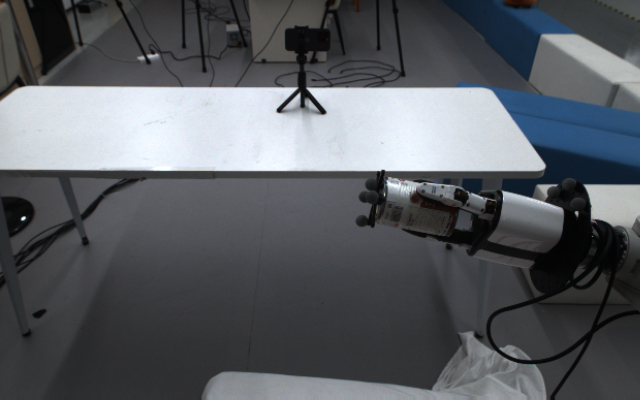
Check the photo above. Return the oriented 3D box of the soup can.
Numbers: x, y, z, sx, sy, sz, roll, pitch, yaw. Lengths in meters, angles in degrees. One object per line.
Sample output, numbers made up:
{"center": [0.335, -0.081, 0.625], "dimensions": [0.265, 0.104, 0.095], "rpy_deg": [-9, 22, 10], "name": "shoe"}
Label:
{"center": [0.133, 0.008, 0.665], "dimensions": [0.101, 0.067, 0.067], "rpy_deg": [11, 35, -2], "name": "soup can"}
